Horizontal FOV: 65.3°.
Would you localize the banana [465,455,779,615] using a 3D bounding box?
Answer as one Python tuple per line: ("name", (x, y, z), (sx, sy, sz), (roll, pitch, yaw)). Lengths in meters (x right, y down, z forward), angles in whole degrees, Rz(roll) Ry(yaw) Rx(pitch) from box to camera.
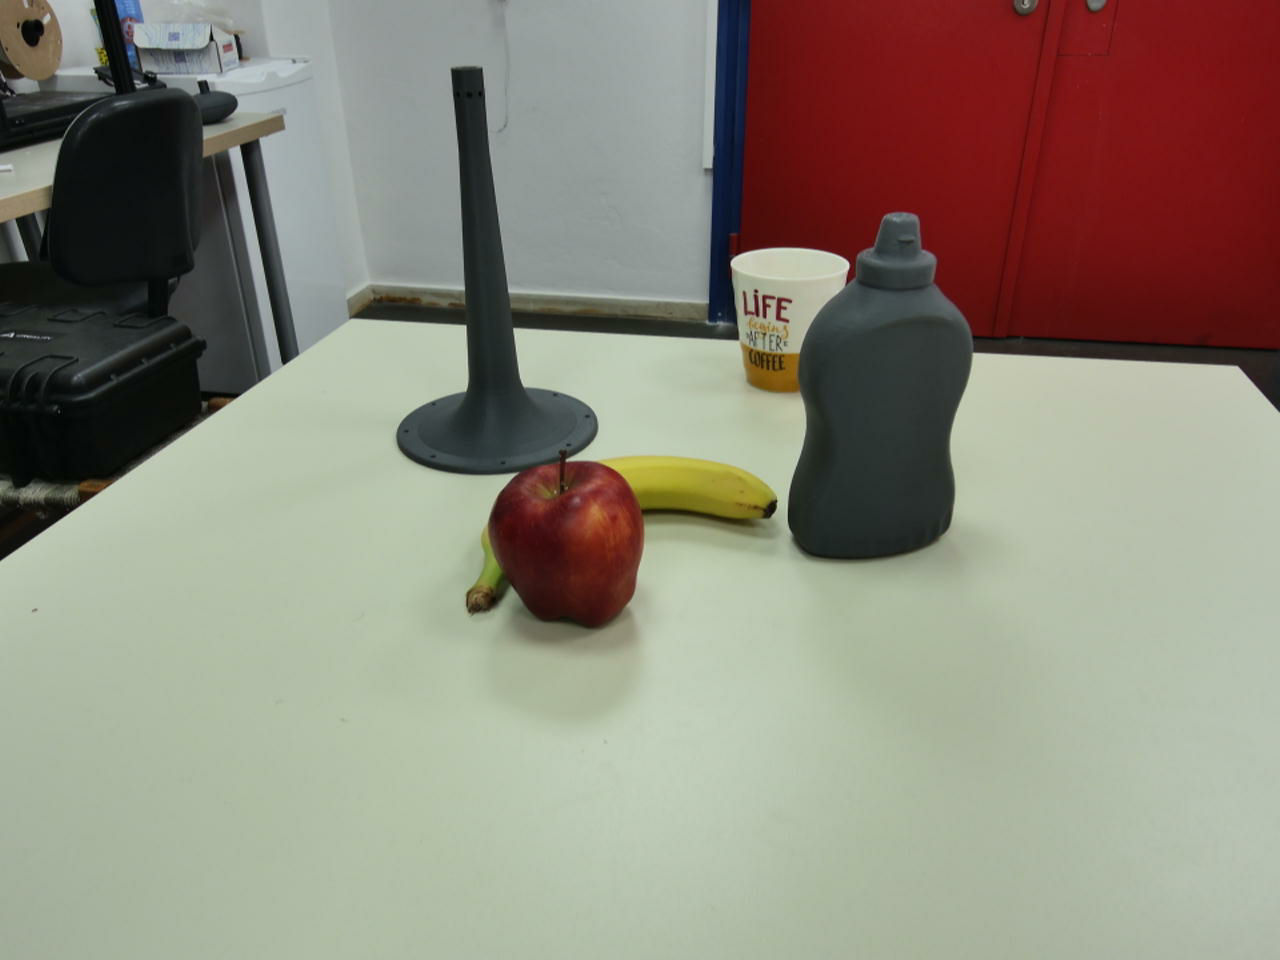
("banana", (-0.021, 0.019, 0.603), (0.196, 0.041, 0.094), (-11, 28, -21))
